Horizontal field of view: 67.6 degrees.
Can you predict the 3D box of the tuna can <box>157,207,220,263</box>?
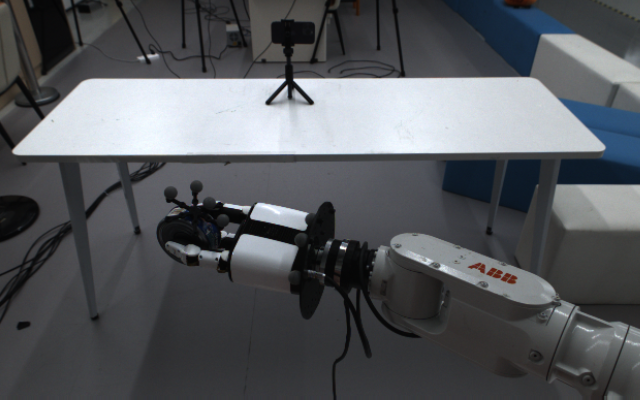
[{"bbox_3d":[-0.184,0.052,0.682,0.085,0.085,0.034,11,34,13],"label":"tuna can"}]
